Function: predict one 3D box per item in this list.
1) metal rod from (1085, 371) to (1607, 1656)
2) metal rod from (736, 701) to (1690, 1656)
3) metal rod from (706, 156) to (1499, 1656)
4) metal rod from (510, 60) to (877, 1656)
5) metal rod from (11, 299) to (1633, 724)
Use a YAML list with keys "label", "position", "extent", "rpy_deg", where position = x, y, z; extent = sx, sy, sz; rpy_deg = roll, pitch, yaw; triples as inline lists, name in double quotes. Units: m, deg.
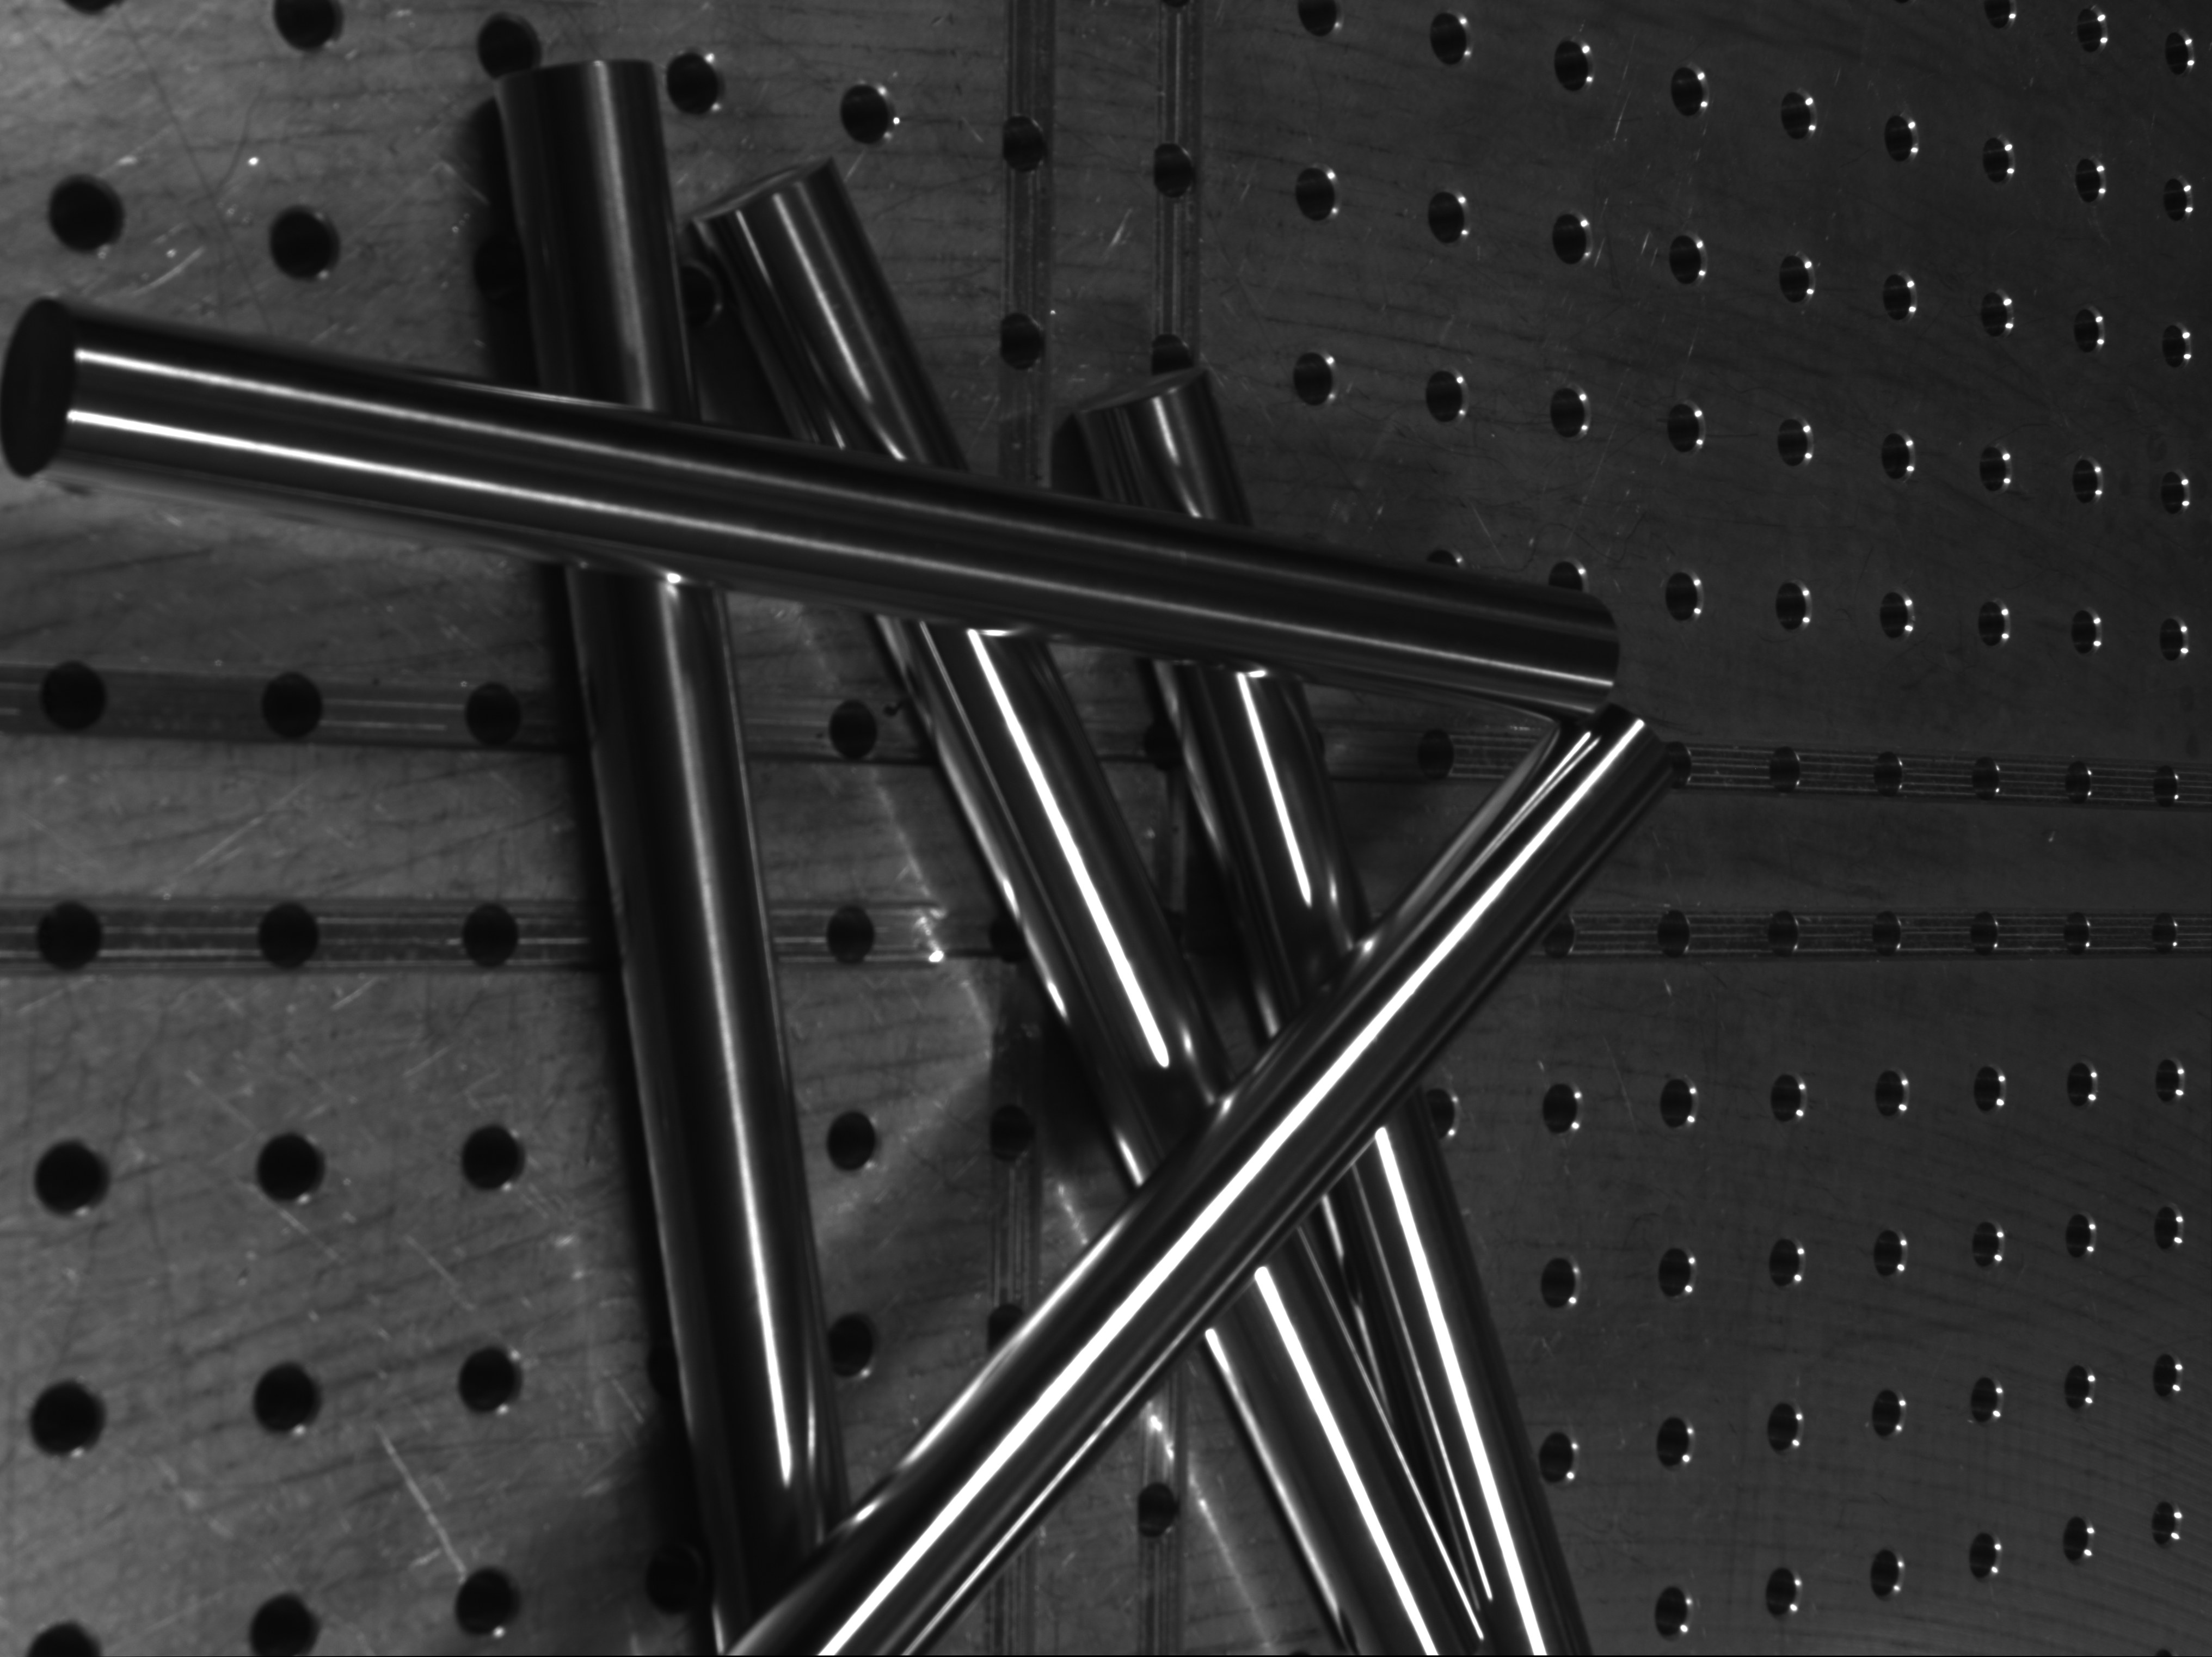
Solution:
- label: "metal rod"
  position: [0.053, 0.061, 0.684]
  extent: [0.025, 0.025, 0.300]
  rpy_deg: [-28, 108, -36]
- label: "metal rod"
  position: [0.009, 0.078, 0.614]
  extent: [0.300, 0.025, 0.025]
  rpy_deg: [-46, 117, -30]
- label: "metal rod"
  position: [0.004, 0.026, 0.643]
  extent: [0.025, 0.025, 0.300]
  rpy_deg: [-37, 113, -34]
- label: "metal rod"
  position: [-0.062, 0.030, 0.588]
  extent: [0.025, 0.025, 0.300]
  rpy_deg: [-12, 98, -39]
- label: "metal rod"
  position: [-0.026, -0.045, 0.586]
  extent: [0.301, 0.025, 0.025]
  rpy_deg: [7, 86, -40]
